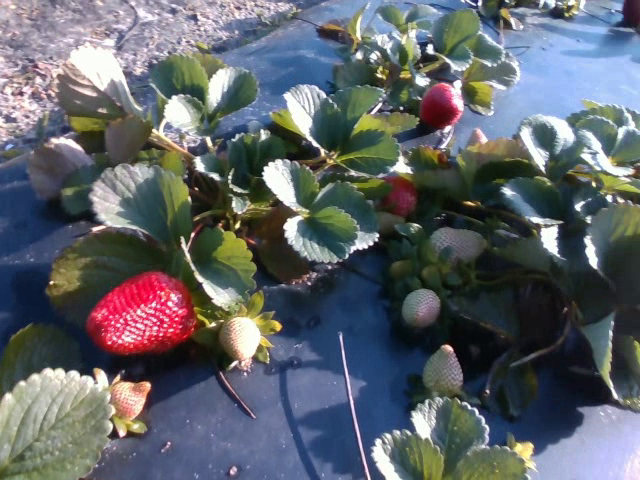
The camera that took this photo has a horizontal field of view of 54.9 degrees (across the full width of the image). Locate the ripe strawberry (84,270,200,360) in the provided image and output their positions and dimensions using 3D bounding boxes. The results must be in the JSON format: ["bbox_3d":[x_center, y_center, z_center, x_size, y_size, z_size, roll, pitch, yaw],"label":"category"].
[{"bbox_3d":[-0.104,0.042,0.341,0.056,0.055,0.072,-20,11,28],"label":"ripe strawberry"}]
